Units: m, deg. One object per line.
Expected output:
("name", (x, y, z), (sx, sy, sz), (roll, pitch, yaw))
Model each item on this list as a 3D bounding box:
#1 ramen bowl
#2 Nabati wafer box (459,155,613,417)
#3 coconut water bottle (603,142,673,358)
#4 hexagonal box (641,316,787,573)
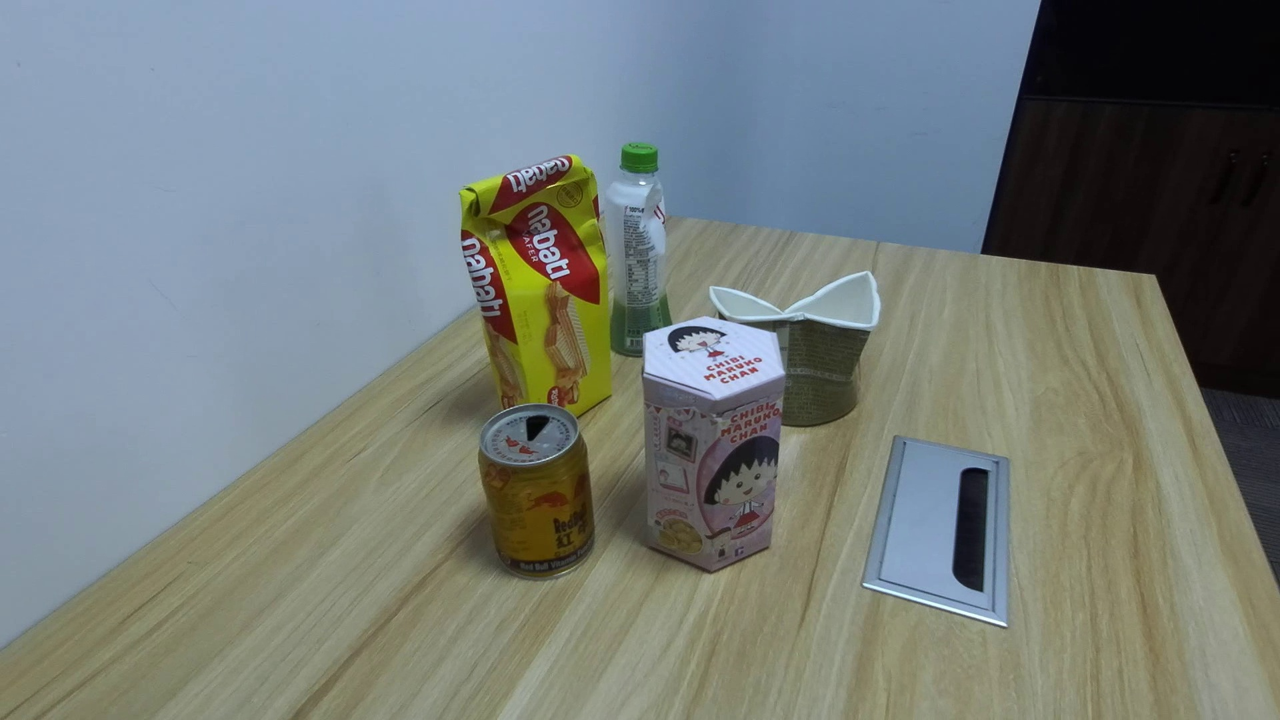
("ramen bowl", (0.123, -0.015, 0.584), (0.128, 0.093, 0.111), (4, 32, 9))
("Nabati wafer box", (-0.071, -0.043, 0.538), (0.042, 0.205, 0.113), (22, 40, 37))
("coconut water bottle", (-0.001, -0.097, 0.633), (0.069, 0.187, 0.069), (-1, 27, 1))
("hexagonal box", (0.044, 0.053, 0.436), (0.091, 0.136, 0.083), (-18, 35, -24))
